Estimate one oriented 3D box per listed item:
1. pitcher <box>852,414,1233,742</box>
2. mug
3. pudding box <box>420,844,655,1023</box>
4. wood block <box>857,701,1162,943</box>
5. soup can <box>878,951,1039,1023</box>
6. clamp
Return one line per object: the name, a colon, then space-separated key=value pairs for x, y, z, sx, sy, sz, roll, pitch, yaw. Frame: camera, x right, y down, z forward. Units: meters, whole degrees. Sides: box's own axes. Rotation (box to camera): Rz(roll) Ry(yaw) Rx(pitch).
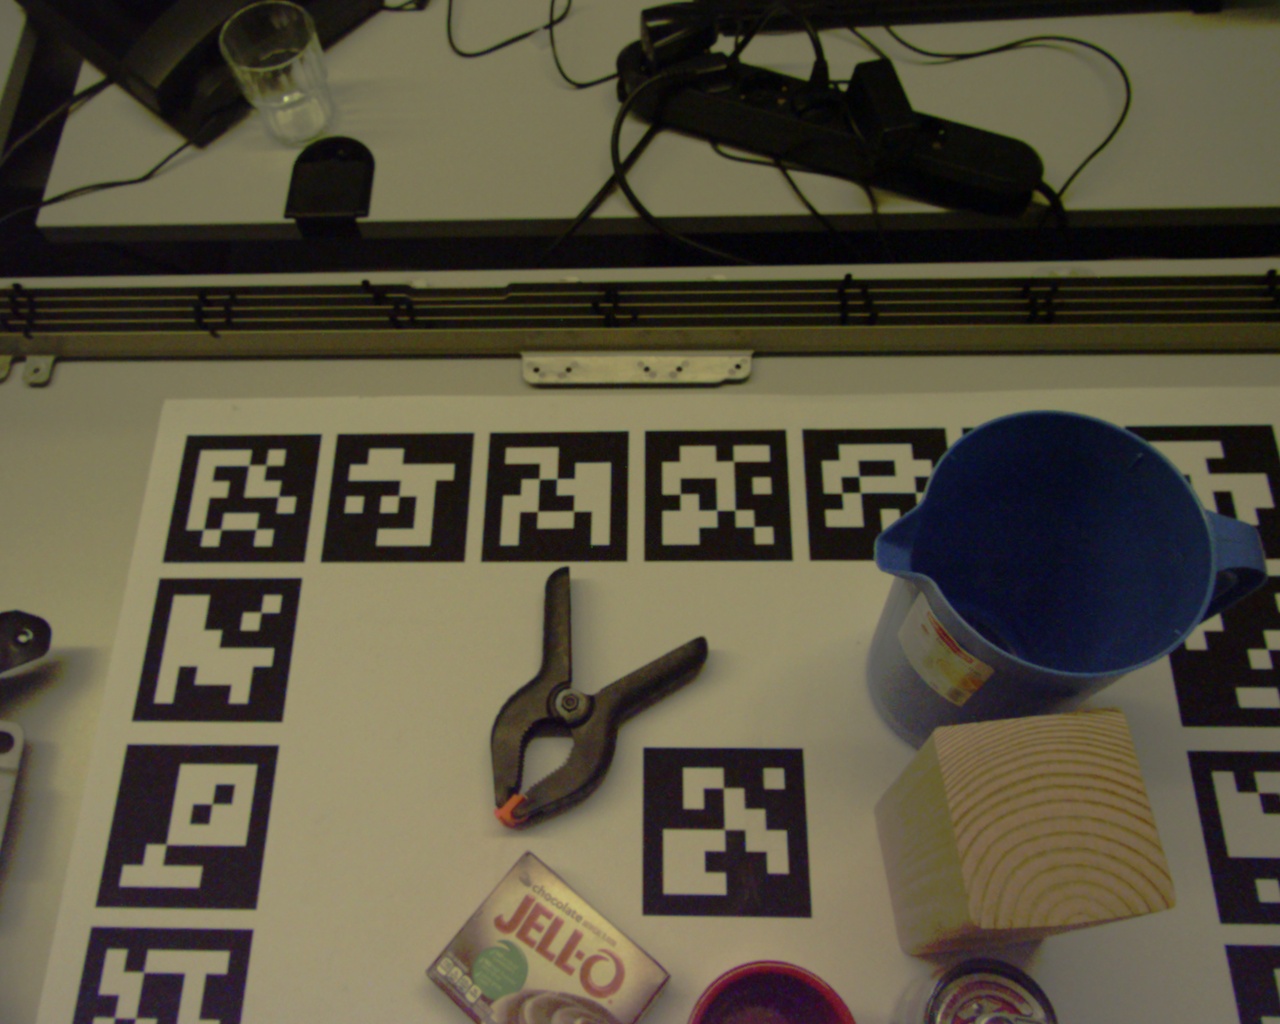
pitcher: x=0.211 y=0.059 z=0.655 sx=0.189 sy=0.241 sz=0.134 roll=-3 pitch=63 yaw=5
mug: x=0.079 y=0.304 z=0.638 sx=0.118 sy=0.081 sz=0.093 roll=33 pitch=69 yaw=18
pudding box: x=-0.061 y=0.273 z=0.689 sx=0.115 sy=0.038 sz=0.090 roll=34 pitch=75 yaw=19
wood block: x=0.187 y=0.176 z=0.619 sx=0.090 sy=0.206 sz=0.091 roll=-2 pitch=65 yaw=-2
soup can: x=0.172 y=0.280 z=0.629 sx=0.068 sy=0.101 sz=0.068 roll=-2 pitch=68 yaw=3
clamp: x=-0.039 y=0.129 z=0.760 sx=0.122 sy=0.036 sz=0.164 roll=28 pitch=70 yaw=8
